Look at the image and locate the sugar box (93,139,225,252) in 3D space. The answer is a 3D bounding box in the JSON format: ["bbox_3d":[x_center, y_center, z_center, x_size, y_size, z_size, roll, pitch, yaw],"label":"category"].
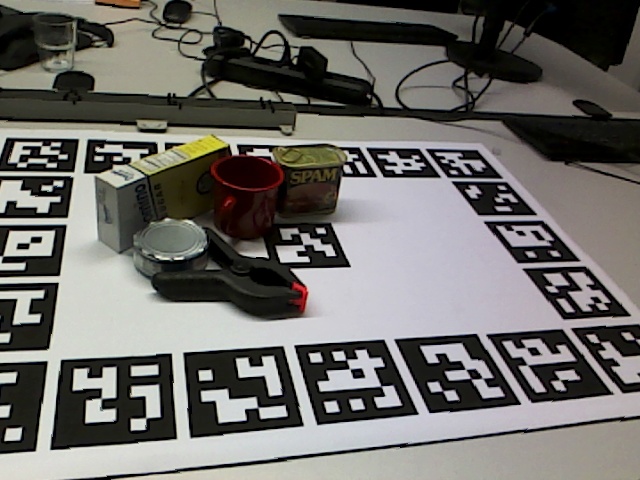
[{"bbox_3d":[-0.198,-0.059,0.780,0.045,0.093,0.175,30,38,27],"label":"sugar box"}]

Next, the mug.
[{"bbox_3d":[-0.105,-0.053,0.791,0.093,0.081,0.117,15,37,4],"label":"mug"}]

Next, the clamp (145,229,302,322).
[{"bbox_3d":[-0.098,0.048,0.706,0.165,0.036,0.121,24,33,10],"label":"clamp"}]

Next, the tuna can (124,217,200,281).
[{"bbox_3d":[-0.184,0.011,0.725,0.085,0.033,0.086,7,37,-6],"label":"tuna can"}]

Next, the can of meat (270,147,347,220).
[{"bbox_3d":[-0.022,-0.078,0.862,0.101,0.083,0.058,-5,37,-24],"label":"can of meat"}]
